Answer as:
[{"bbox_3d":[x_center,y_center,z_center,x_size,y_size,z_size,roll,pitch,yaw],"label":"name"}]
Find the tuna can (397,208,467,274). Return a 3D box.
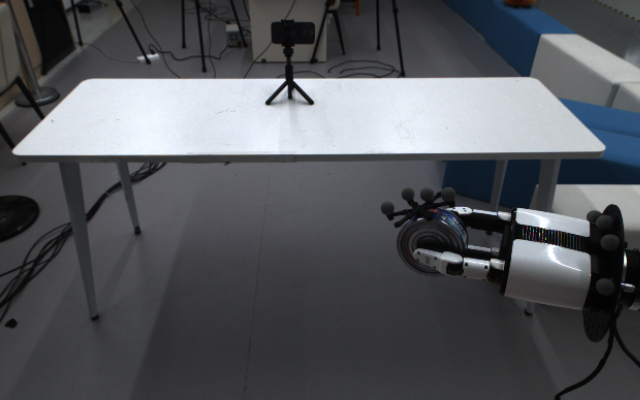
[{"bbox_3d":[0.144,0.051,0.613,0.085,0.085,0.034,15,30,17],"label":"tuna can"}]
